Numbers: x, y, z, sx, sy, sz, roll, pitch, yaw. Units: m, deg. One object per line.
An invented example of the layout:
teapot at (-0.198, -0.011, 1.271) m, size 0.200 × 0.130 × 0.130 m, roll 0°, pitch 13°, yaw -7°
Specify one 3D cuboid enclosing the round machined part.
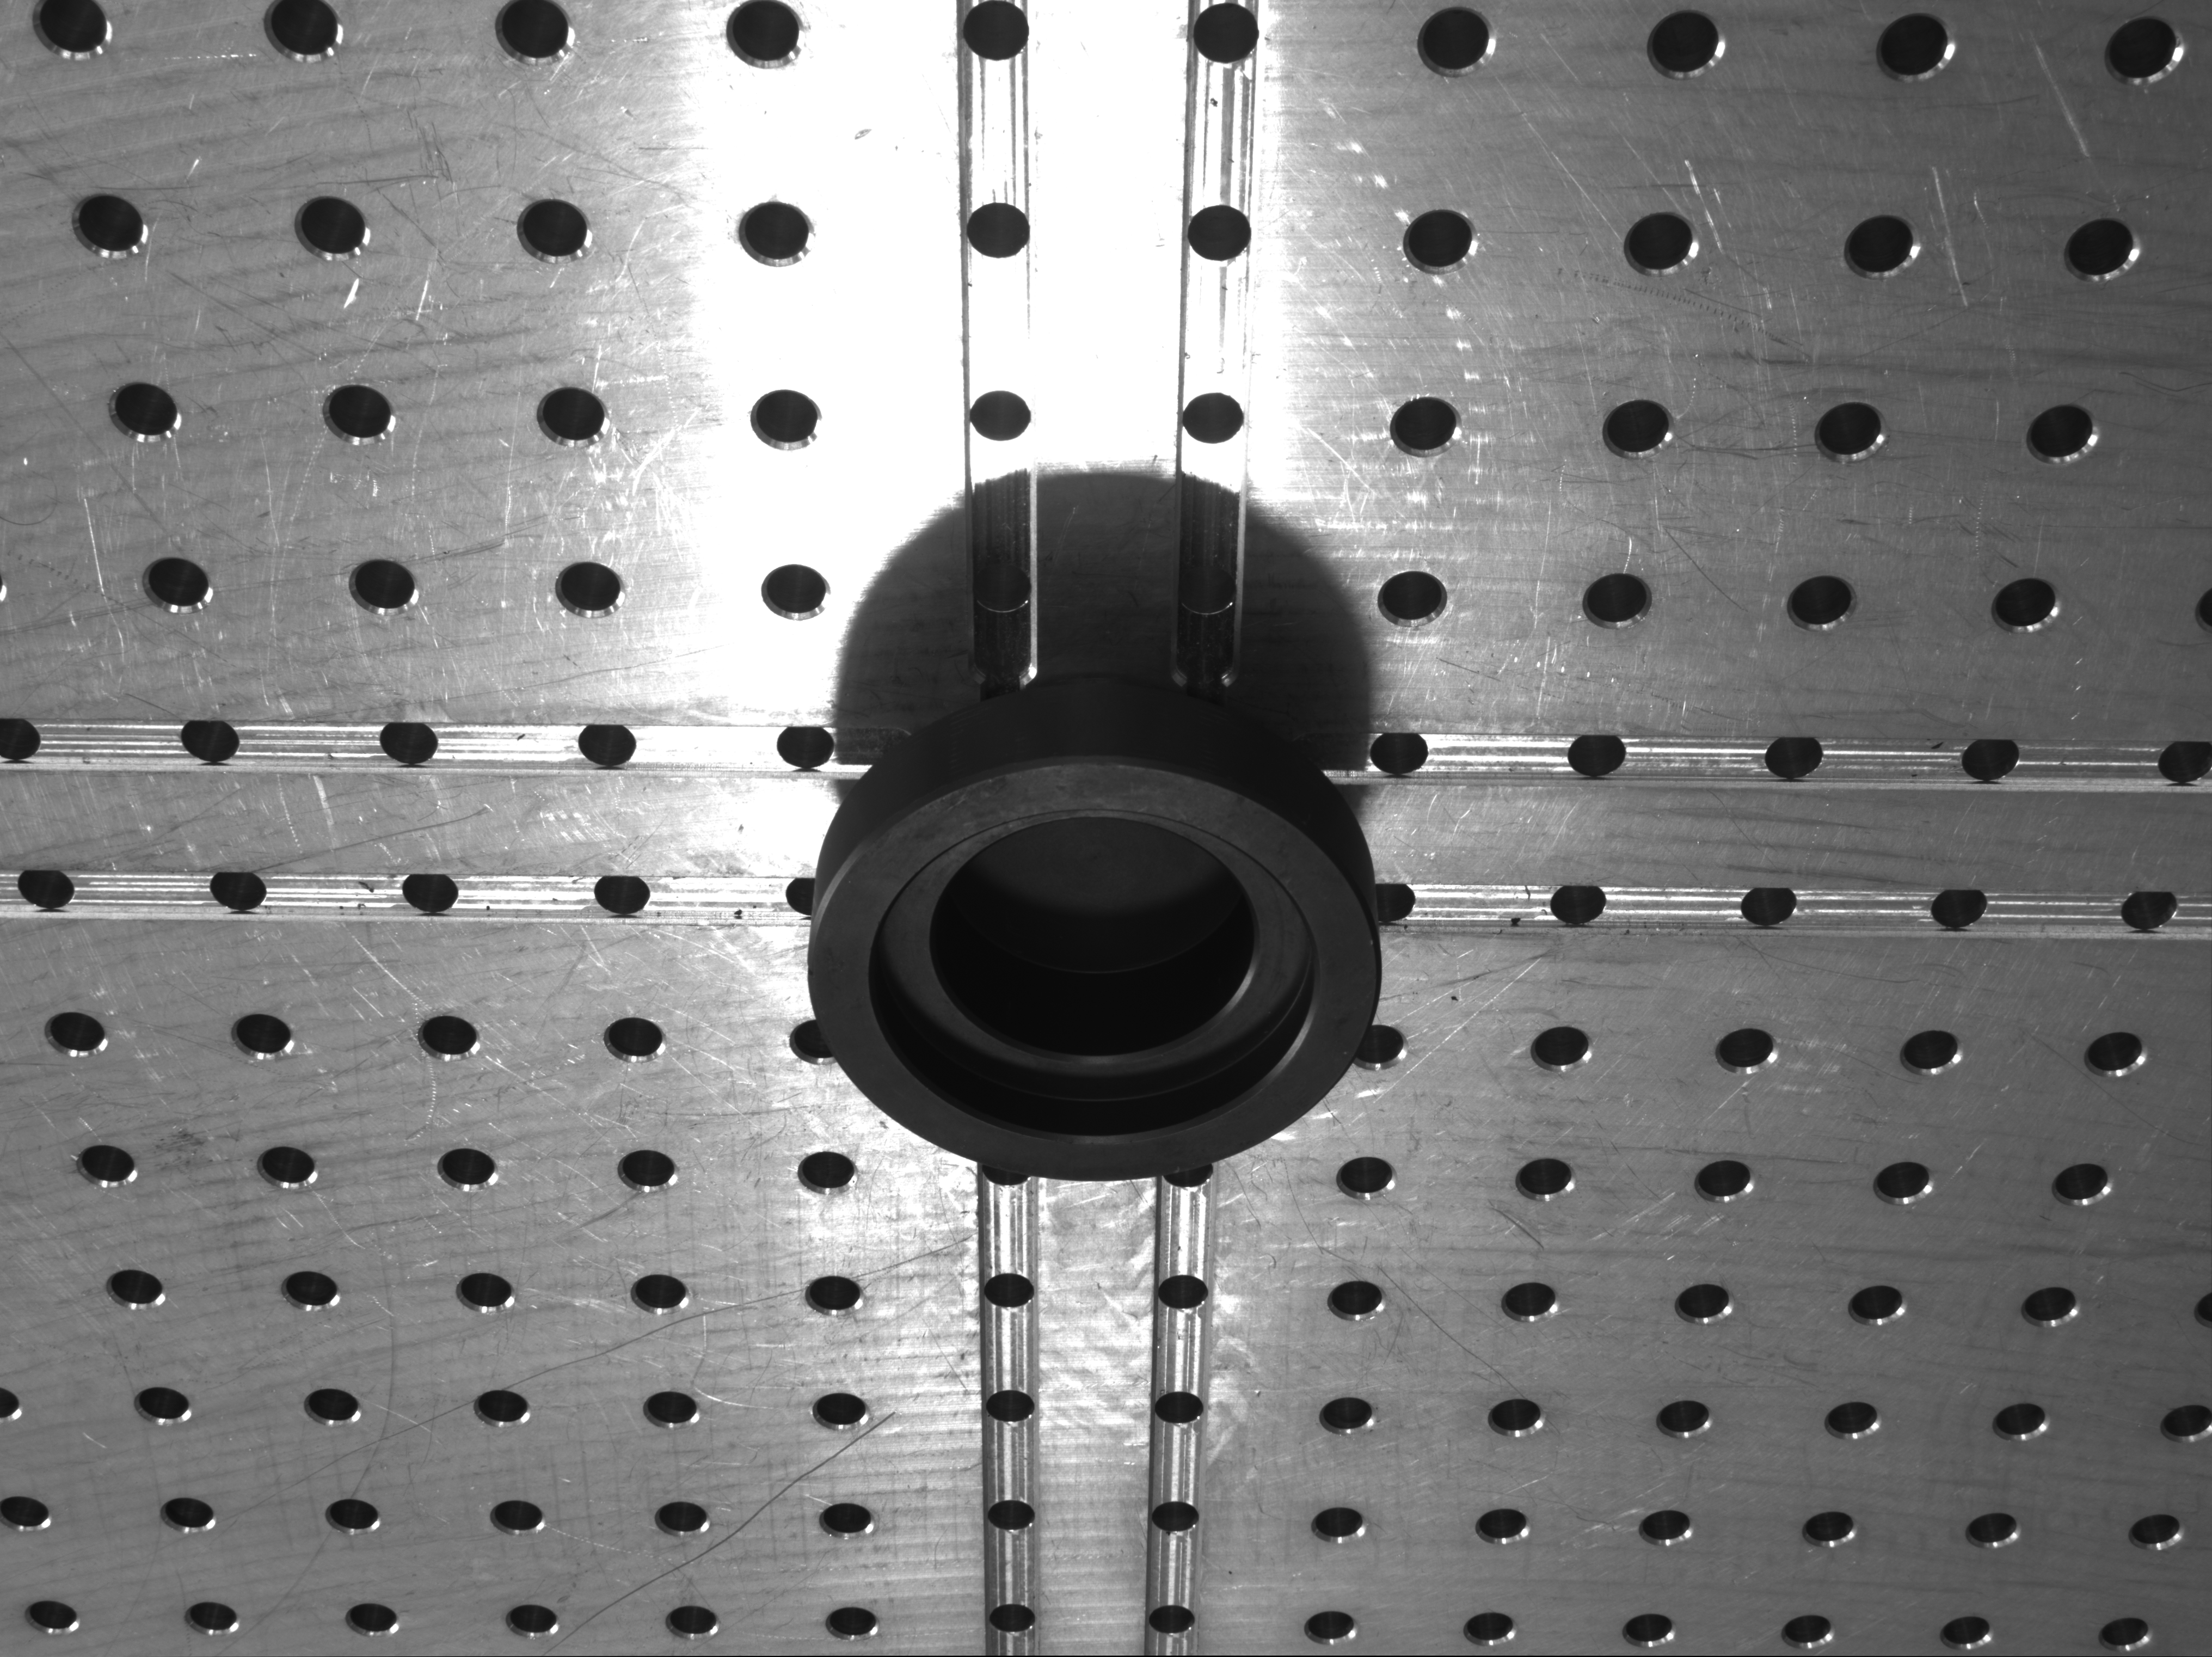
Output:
round machined part at (-0.002, 0.013, 0.642) m, size 0.098 × 0.042 × 0.098 m, roll 0°, pitch 130°, yaw 0°
